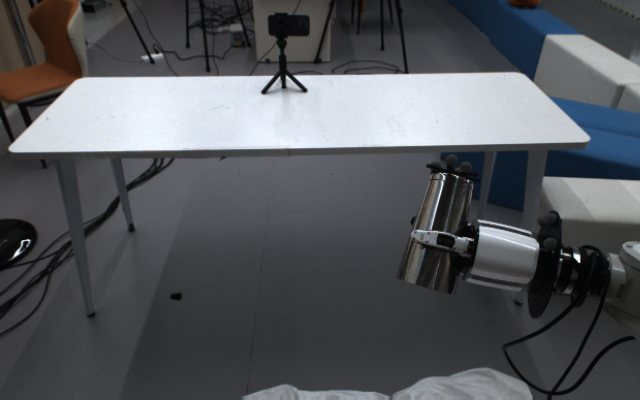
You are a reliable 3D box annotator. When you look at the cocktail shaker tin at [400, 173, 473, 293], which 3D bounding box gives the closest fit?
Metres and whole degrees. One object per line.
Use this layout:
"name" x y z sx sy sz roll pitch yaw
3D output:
"cocktail shaker tin" 0.182 0.048 0.740 0.093 0.170 0.093 16 -4 1
